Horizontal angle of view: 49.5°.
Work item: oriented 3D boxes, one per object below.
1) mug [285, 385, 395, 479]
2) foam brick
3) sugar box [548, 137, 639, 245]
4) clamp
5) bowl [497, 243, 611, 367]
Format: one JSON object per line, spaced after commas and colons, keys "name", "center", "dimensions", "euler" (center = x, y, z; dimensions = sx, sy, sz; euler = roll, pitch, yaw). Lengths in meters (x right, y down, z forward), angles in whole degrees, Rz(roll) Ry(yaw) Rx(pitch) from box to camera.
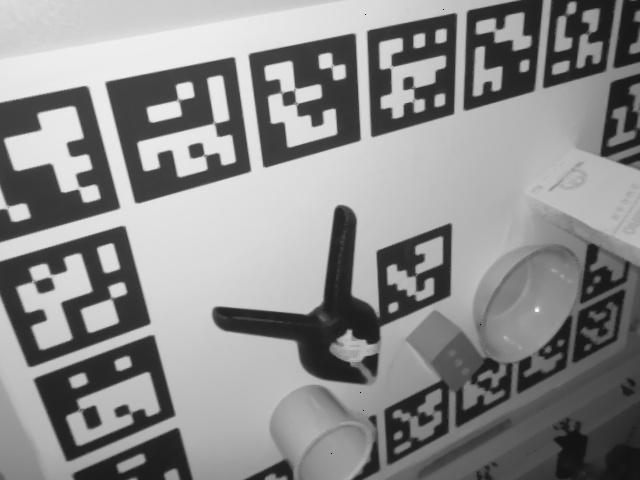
{"name": "mug", "center": [0.023, 0.208, 0.734], "dimensions": [0.119, 0.081, 0.092], "euler": [8, 107, -28]}
{"name": "foam brick", "center": [0.162, 0.125, 0.803], "dimensions": [0.053, 0.051, 0.078], "euler": [-43, 124, -6]}
{"name": "sugar box", "center": [0.341, -0.048, 0.745], "dimensions": [0.093, 0.175, 0.045], "euler": [-40, 122, -6]}
{"name": "clamp", "center": [0.028, 0.079, 0.704], "dimensions": [0.166, 0.036, 0.203], "euler": [-41, 123, -10]}
{"name": "bowl", "center": [0.266, 0.069, 0.827], "dimensions": [0.164, 0.055, 0.160], "euler": [-12, 116, -23]}
